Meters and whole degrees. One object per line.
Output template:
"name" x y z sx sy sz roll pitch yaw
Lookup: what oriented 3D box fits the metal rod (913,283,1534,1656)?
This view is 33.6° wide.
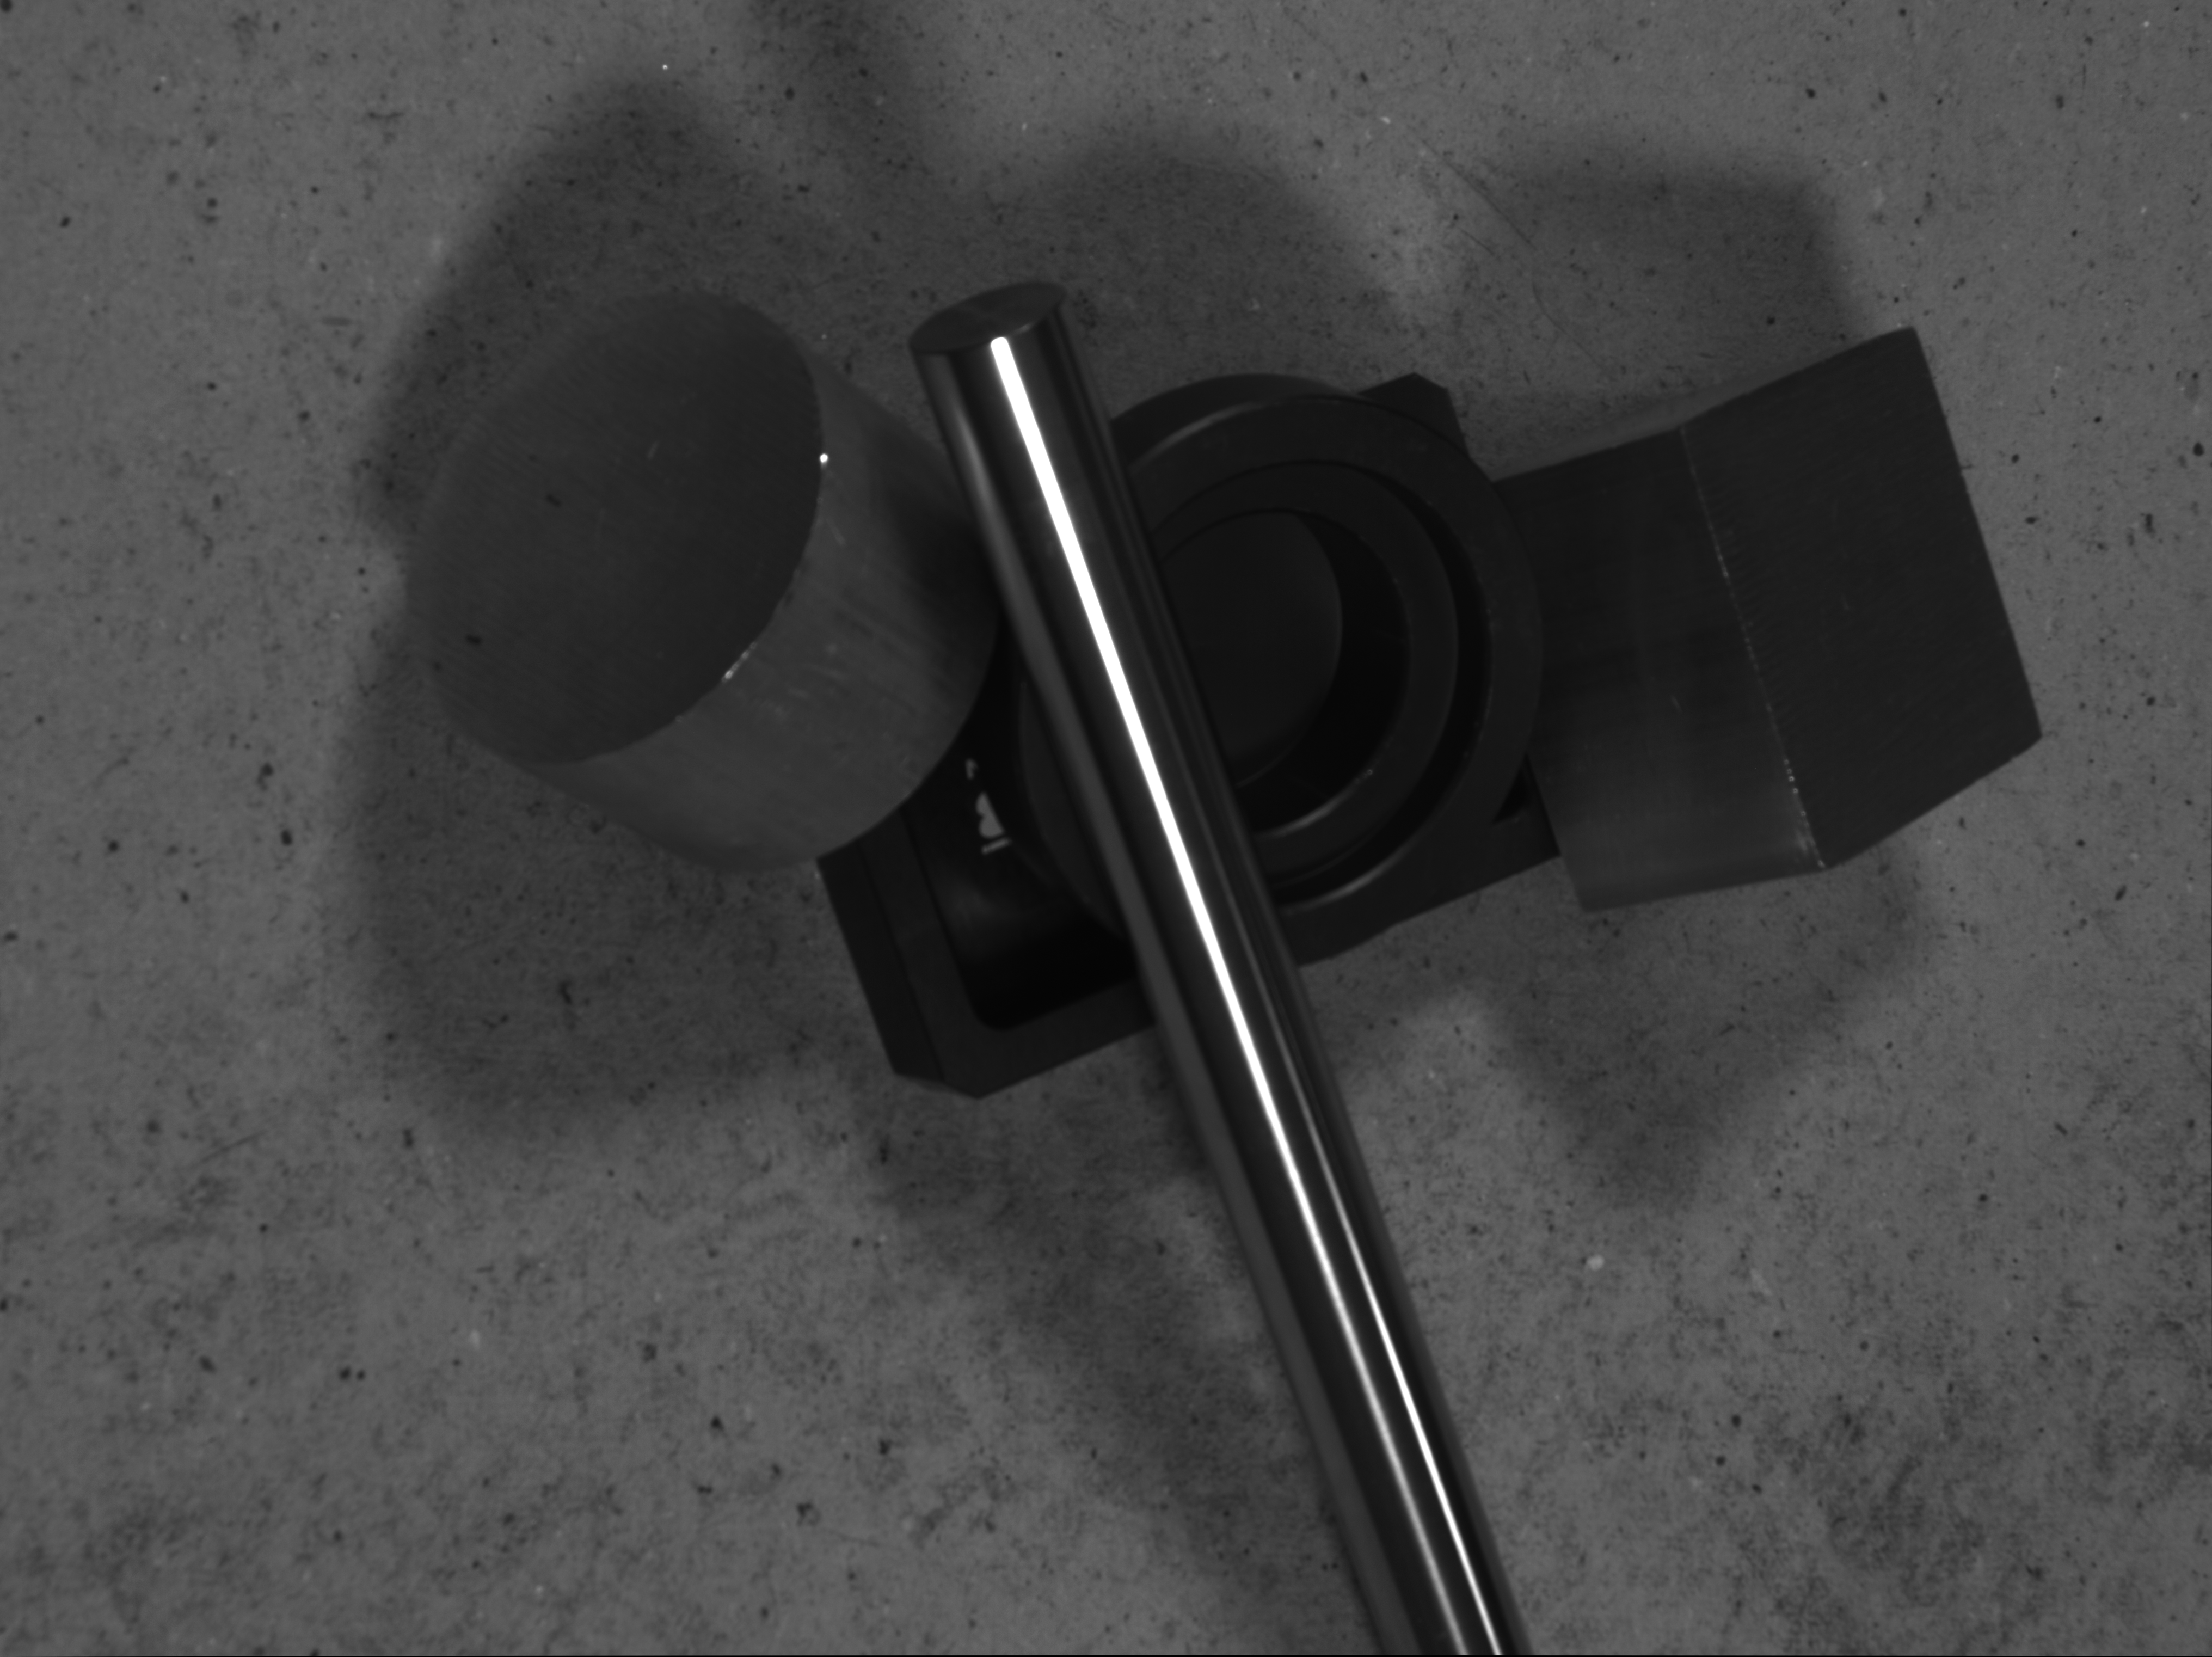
"metal rod" 0.029 0.052 0.608 0.025 0.025 0.300 -28 116 -18

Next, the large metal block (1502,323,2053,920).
"large metal block" 0.117 -0.038 0.655 0.080 0.050 0.080 -26 99 -44

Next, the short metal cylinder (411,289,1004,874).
"short metal cylinder" -0.063 -0.039 0.585 0.050 0.080 0.080 34 77 -53

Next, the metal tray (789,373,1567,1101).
"metal tray" 0.013 -0.017 0.645 0.130 0.030 0.090 -22 97 -19

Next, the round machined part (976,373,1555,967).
"round machined part" 0.023 -0.028 0.617 0.098 0.042 0.098 -7 108 -22
